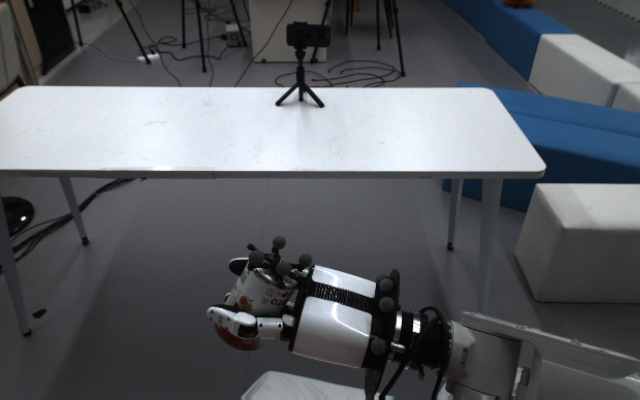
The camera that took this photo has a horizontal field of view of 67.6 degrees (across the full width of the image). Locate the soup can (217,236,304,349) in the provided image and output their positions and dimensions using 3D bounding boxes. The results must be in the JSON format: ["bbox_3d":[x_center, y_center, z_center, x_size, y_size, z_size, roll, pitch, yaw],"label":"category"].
[{"bbox_3d":[-0.077,0.124,0.592,0.067,0.101,0.067,27,18,-10],"label":"soup can"}]
